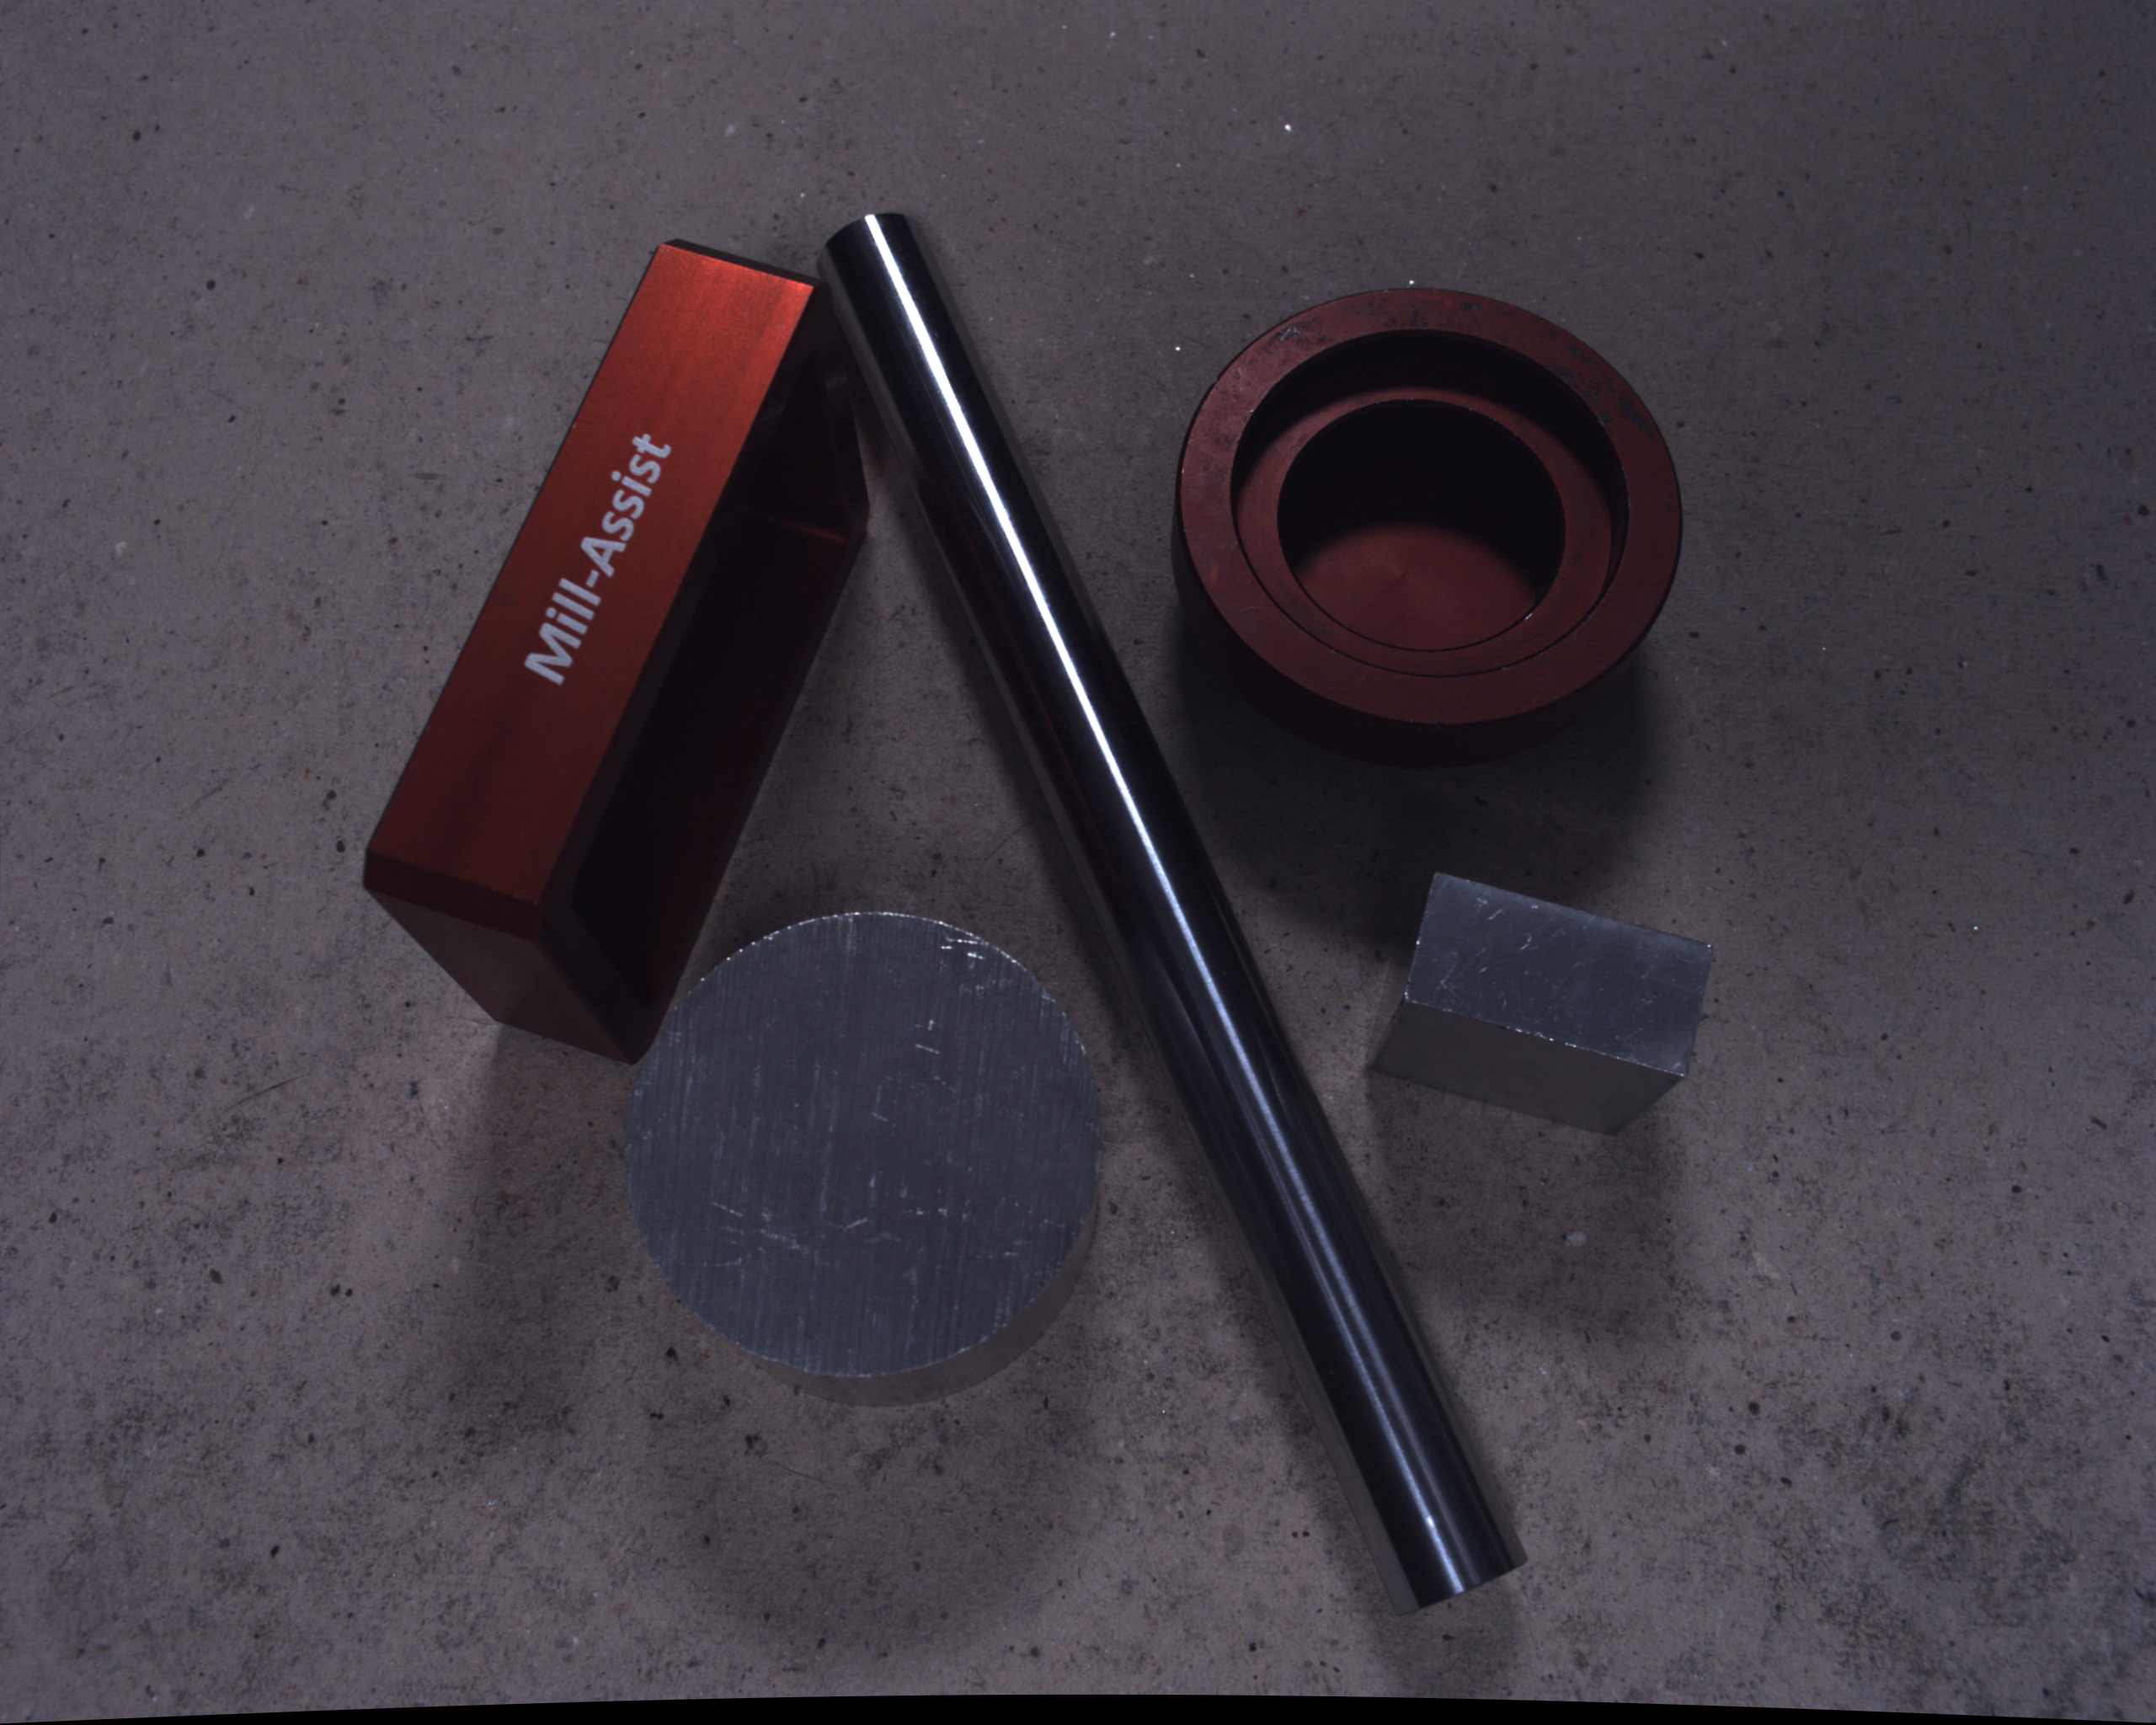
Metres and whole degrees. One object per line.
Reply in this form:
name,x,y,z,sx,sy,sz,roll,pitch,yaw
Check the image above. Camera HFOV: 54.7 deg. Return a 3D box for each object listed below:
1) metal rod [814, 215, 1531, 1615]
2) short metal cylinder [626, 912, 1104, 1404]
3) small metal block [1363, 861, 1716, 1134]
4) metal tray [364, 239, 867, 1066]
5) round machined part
metal rod,0.011,-0.003,0.411,0.025,0.025,0.299,-21,72,-8
short metal cylinder,-0.036,0.054,0.375,0.081,0.050,0.080,0,70,0
small metal block,0.083,0.026,0.385,0.050,0.050,0.025,16,71,5
metal tray,-0.079,-0.036,0.387,0.030,0.090,0.130,17,71,6
round machined part,0.068,-0.064,0.424,0.099,0.042,0.098,0,70,-1
